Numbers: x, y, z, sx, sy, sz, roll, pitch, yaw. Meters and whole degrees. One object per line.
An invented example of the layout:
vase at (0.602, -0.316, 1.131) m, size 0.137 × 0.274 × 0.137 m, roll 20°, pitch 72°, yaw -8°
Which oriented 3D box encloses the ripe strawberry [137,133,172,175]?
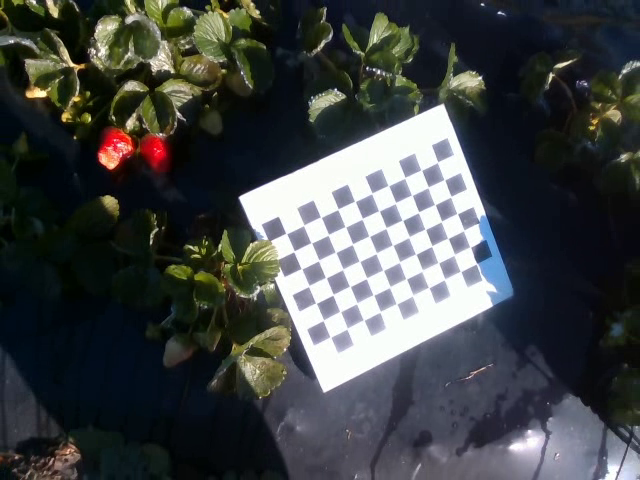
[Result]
ripe strawberry at (-0.232, -0.125, 0.893) m, size 0.043 × 0.059 × 0.040 m, roll -25°, pitch 4°, yaw -8°

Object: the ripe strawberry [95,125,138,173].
ripe strawberry at (-0.286, -0.126, 0.893) m, size 0.052 × 0.070 × 0.040 m, roll 22°, pitch -7°, yaw -18°
